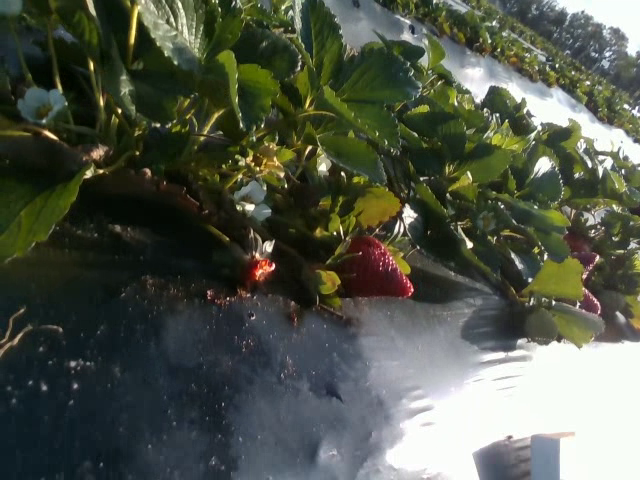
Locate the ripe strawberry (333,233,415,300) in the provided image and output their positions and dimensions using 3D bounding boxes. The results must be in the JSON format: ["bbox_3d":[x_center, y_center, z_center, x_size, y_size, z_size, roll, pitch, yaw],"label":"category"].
[{"bbox_3d":[0.037,0.021,0.356,0.052,0.041,0.052,25,37,34],"label":"ripe strawberry"}]
